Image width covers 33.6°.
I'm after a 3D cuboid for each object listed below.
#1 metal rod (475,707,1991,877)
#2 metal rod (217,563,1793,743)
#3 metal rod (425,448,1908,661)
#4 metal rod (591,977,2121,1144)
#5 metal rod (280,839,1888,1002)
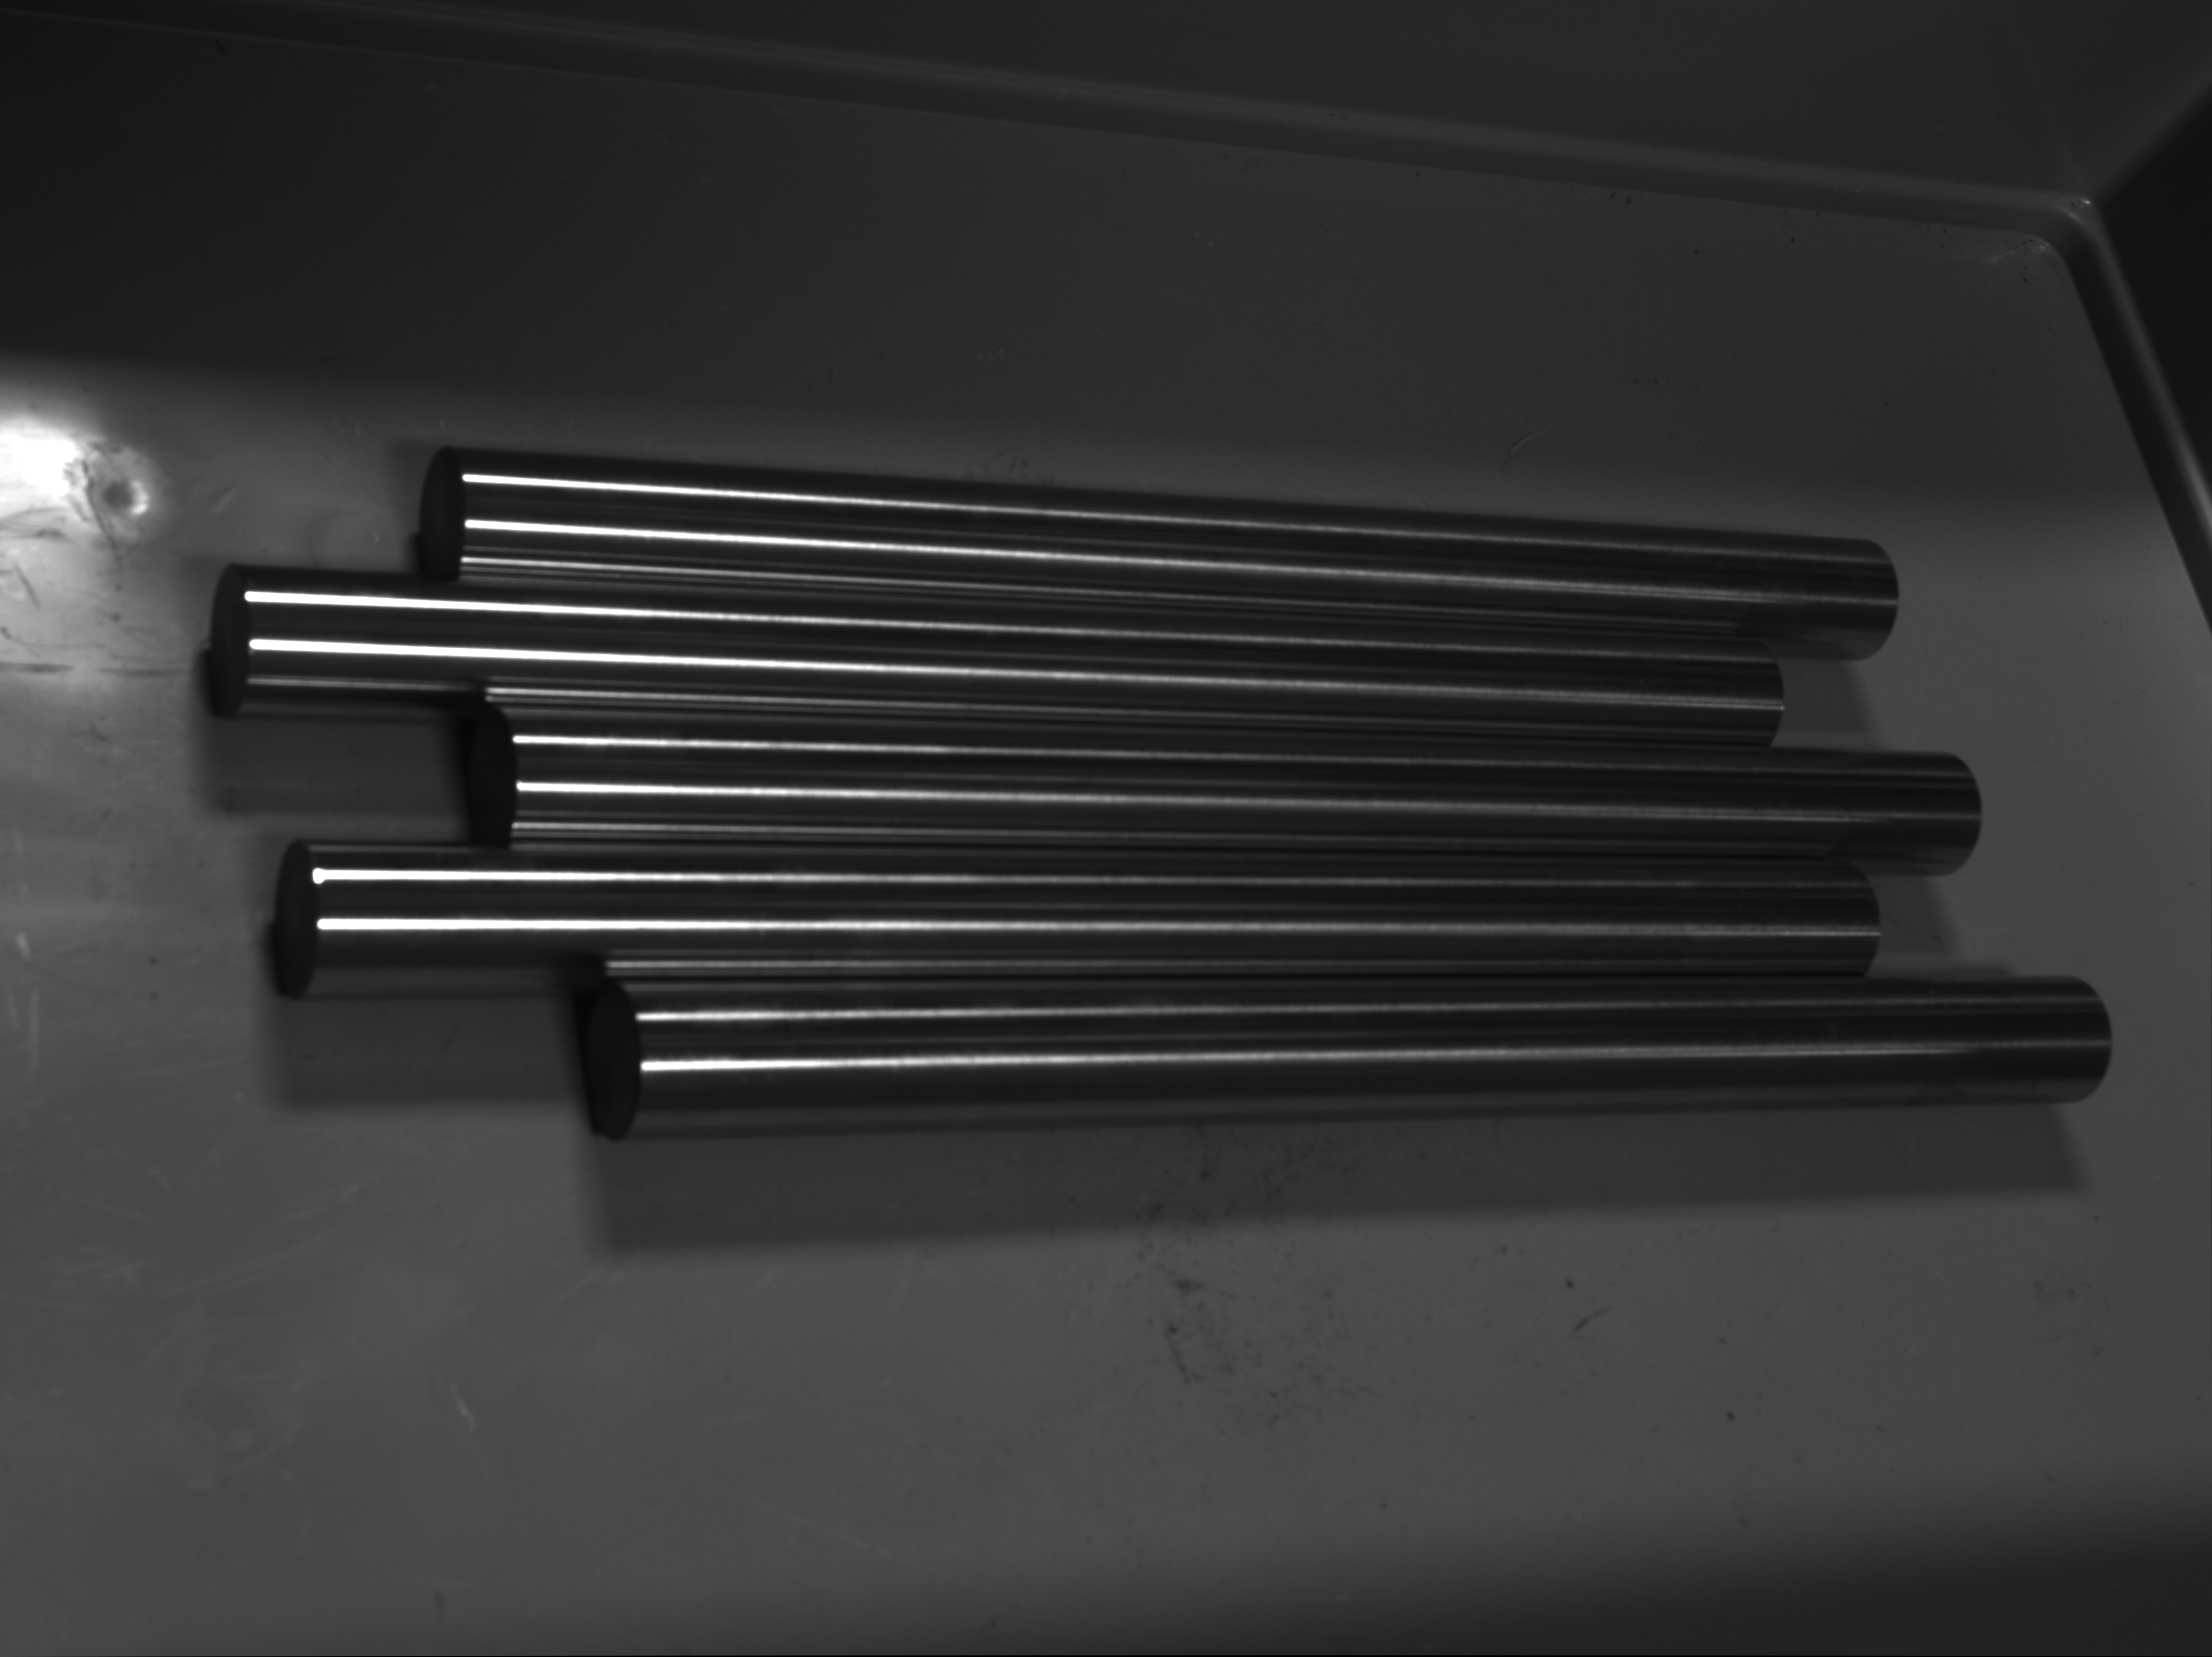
[{"bbox_3d":[0.035,-0.005,0.661,0.301,0.025,0.025,1,61,-28],"label":"metal rod"},{"bbox_3d":[-0.005,-0.028,0.653,0.301,0.025,0.025,1,61,-28],"label":"metal rod"},{"bbox_3d":[0.023,-0.049,0.681,0.301,0.025,0.025,1,61,-28],"label":"metal rod"},{"bbox_3d":[0.056,0.039,0.645,0.301,0.025,0.025,1,61,-28],"label":"metal rod"},{"bbox_3d":[0.009,0.016,0.634,0.301,0.025,0.025,1,61,-28],"label":"metal rod"}]
